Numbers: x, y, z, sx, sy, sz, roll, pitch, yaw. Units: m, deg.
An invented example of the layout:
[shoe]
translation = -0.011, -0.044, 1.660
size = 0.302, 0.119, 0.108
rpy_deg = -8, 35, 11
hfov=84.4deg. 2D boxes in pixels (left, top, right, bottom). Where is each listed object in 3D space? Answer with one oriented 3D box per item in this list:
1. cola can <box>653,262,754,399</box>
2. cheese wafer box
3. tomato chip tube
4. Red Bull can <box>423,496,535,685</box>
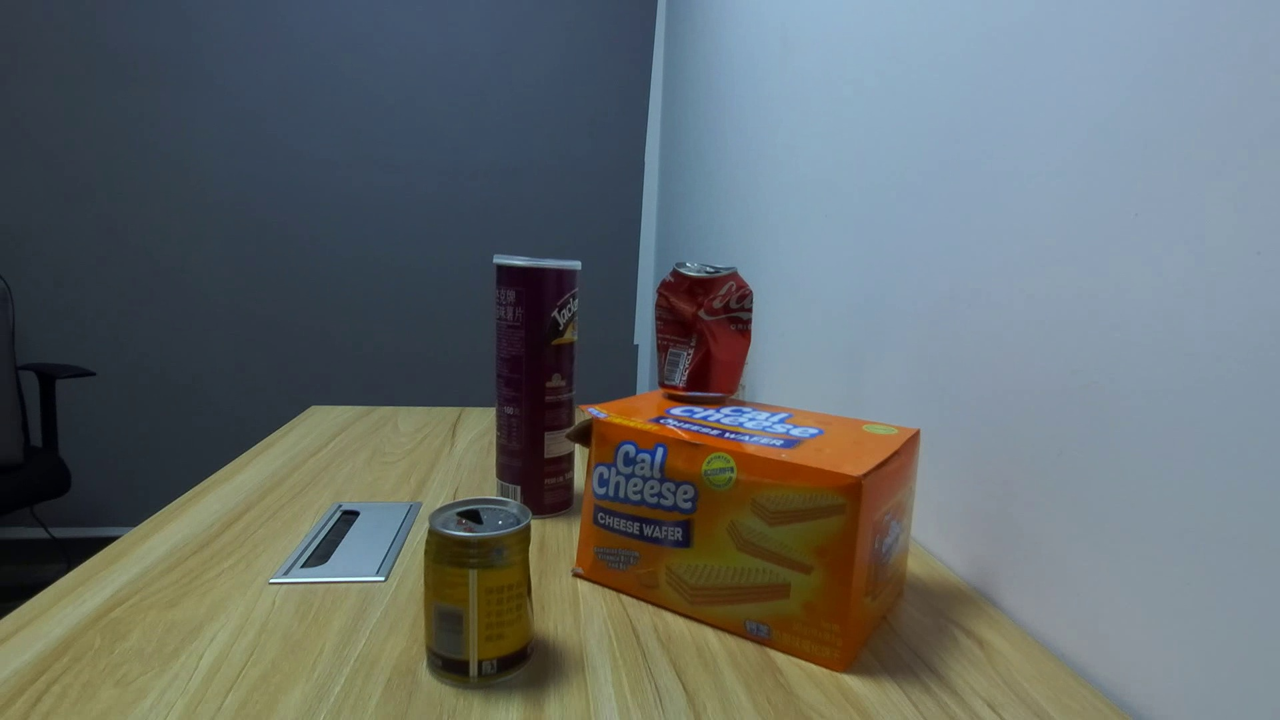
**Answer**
[cola can]
translation = 0.049, -0.024, 0.580
size = 0.066, 0.112, 0.069
rpy_deg = -8, 18, -37
[cheese wafer box]
translation = 0.075, 0.105, 0.528
size = 0.226, 0.137, 0.150
rpy_deg = 8, 11, 33
[tomato chip tube]
translation = -0.099, 0.025, 0.668
size = 0.078, 0.233, 0.078
rpy_deg = 3, 9, 0
[Red Bull can]
translation = -0.096, 0.137, 0.423
size = 0.069, 0.092, 0.069
rpy_deg = 3, 8, 0
